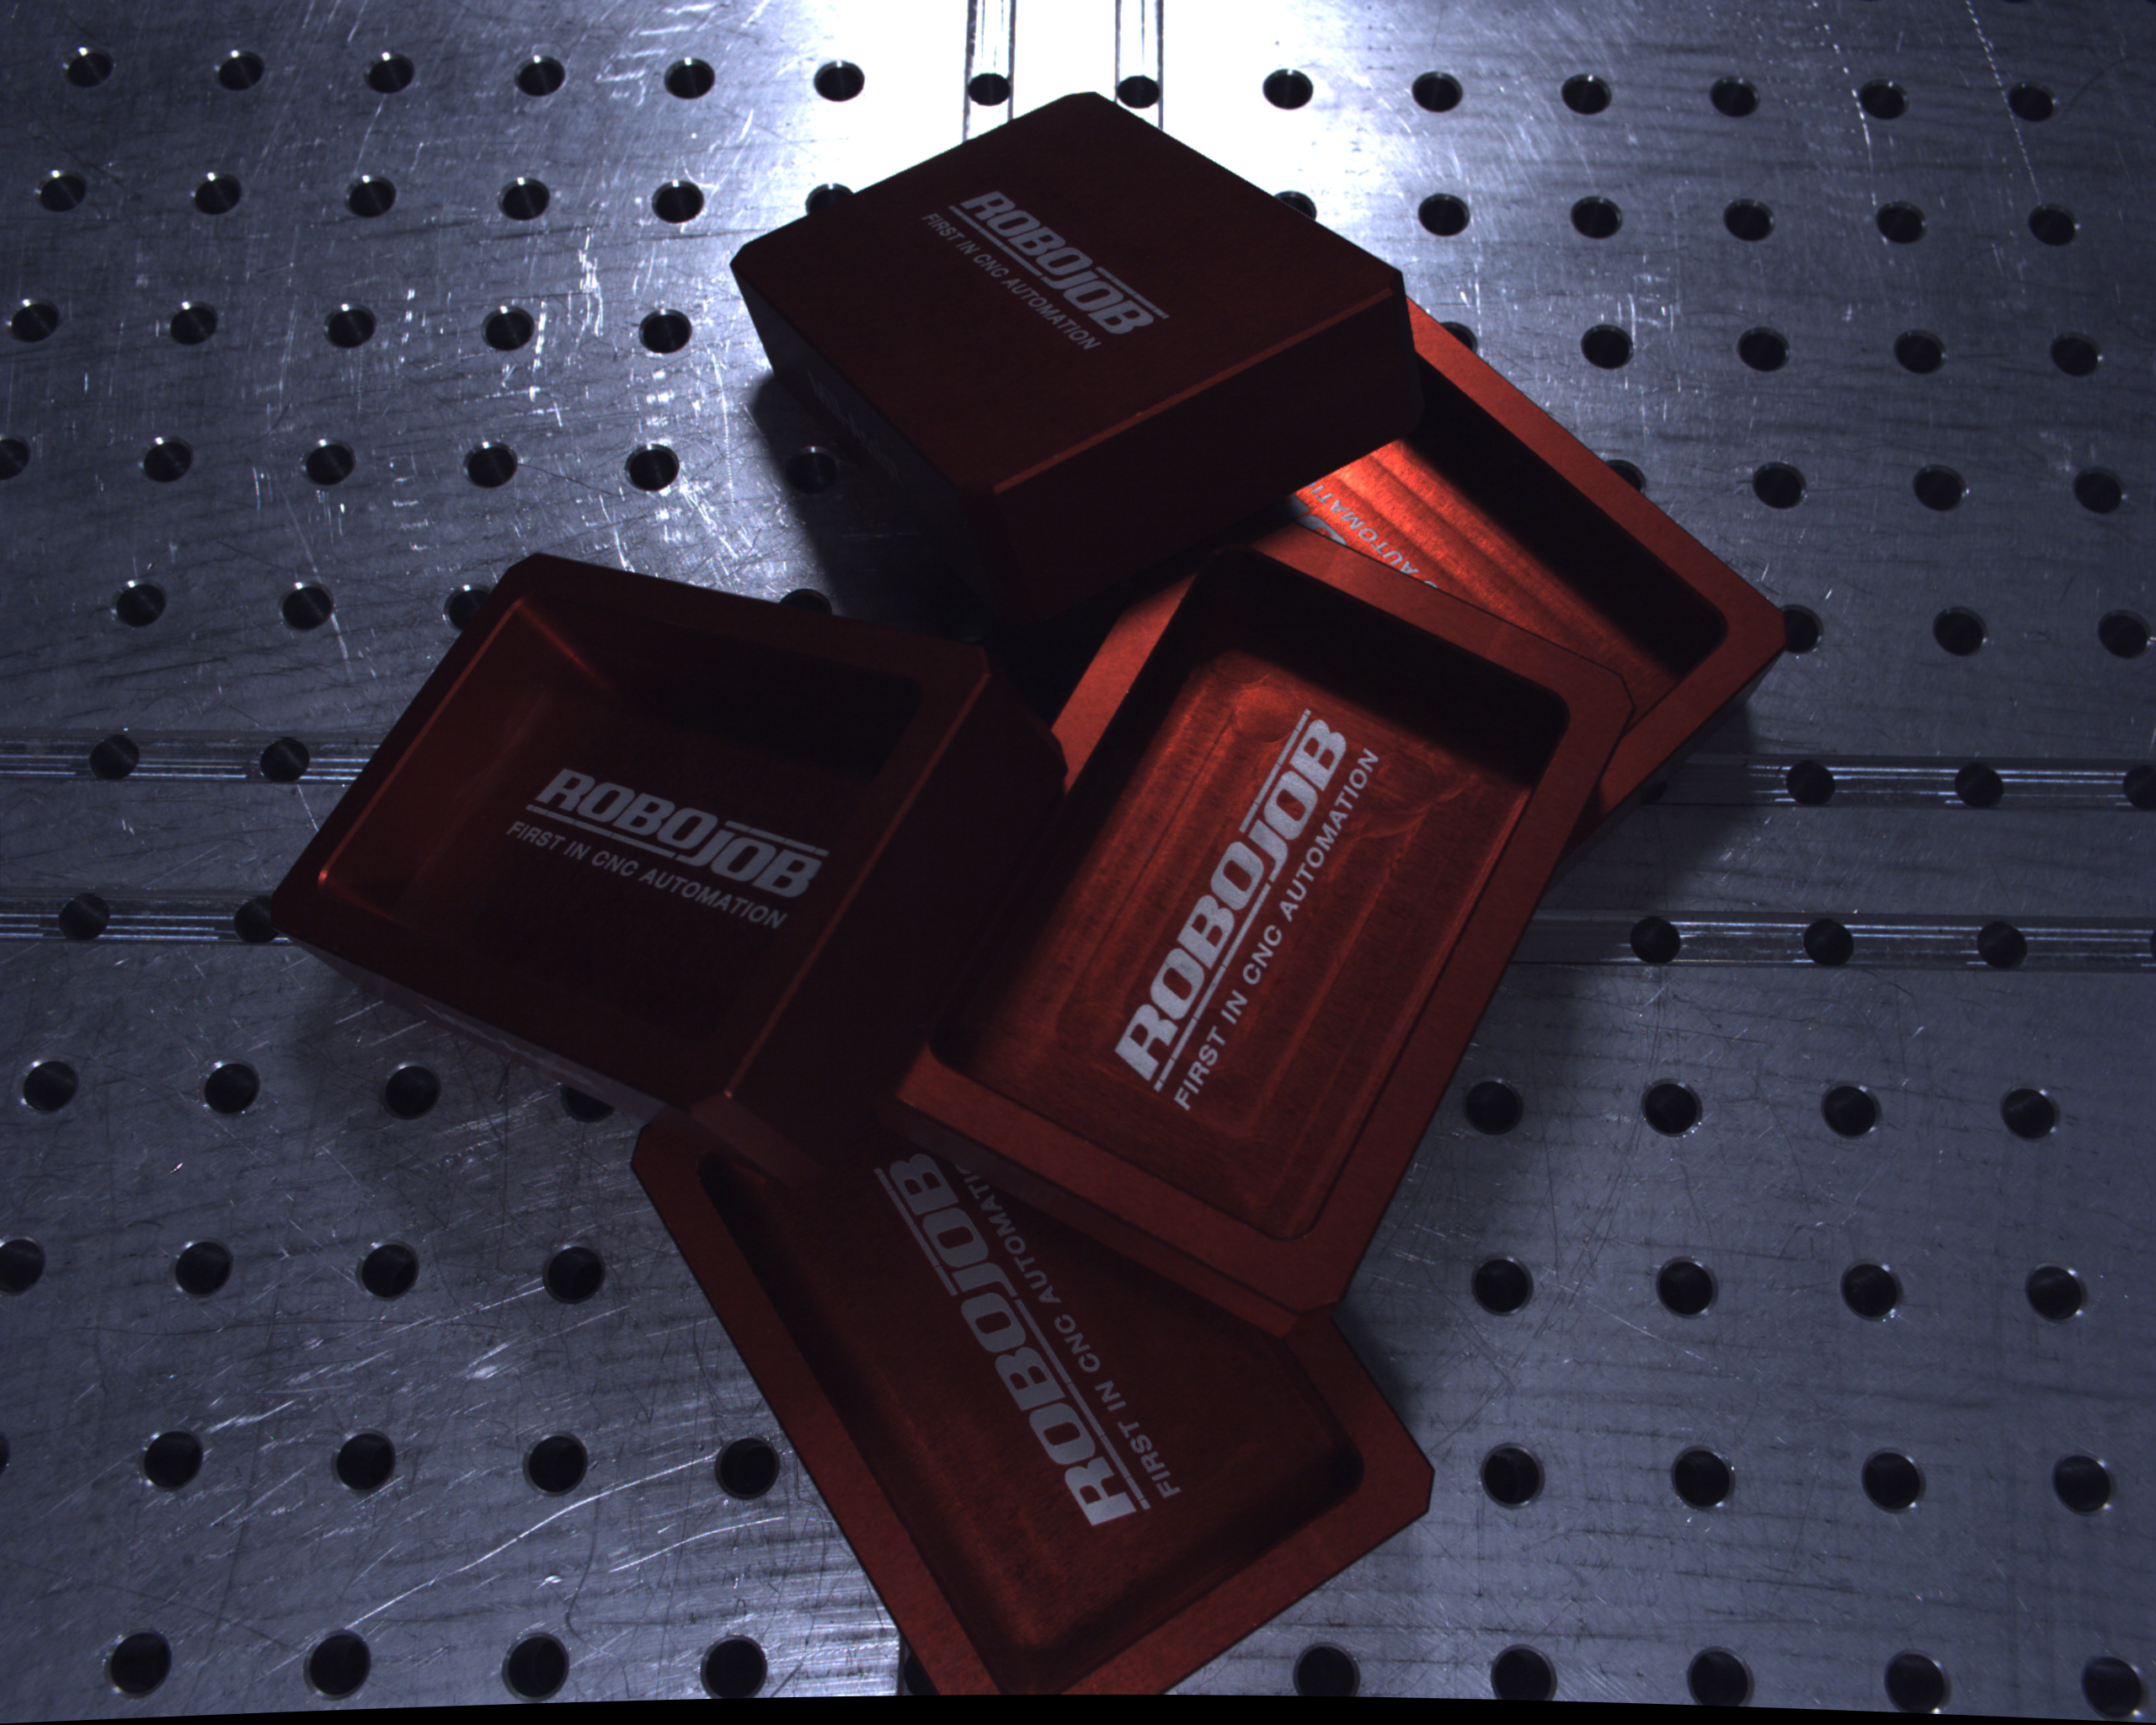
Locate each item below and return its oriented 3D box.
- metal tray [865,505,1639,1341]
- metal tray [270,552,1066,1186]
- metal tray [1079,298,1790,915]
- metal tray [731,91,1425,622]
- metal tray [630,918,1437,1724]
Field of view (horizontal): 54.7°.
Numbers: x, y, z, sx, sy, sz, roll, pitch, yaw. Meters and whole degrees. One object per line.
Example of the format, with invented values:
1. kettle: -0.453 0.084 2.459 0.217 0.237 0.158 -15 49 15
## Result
1. metal tray: 0.032 0.007 0.375 0.090 0.030 0.130 27 72 9
2. metal tray: -0.077 -0.005 0.377 0.130 0.030 0.090 16 67 37
3. metal tray: 0.066 -0.056 0.430 0.090 0.030 0.130 -42 76 -14
4. metal tray: -0.004 -0.106 0.416 0.090 0.030 0.130 -29 43 -11
5. metal tray: -0.009 0.084 0.378 0.090 0.030 0.130 -31 73 -11
